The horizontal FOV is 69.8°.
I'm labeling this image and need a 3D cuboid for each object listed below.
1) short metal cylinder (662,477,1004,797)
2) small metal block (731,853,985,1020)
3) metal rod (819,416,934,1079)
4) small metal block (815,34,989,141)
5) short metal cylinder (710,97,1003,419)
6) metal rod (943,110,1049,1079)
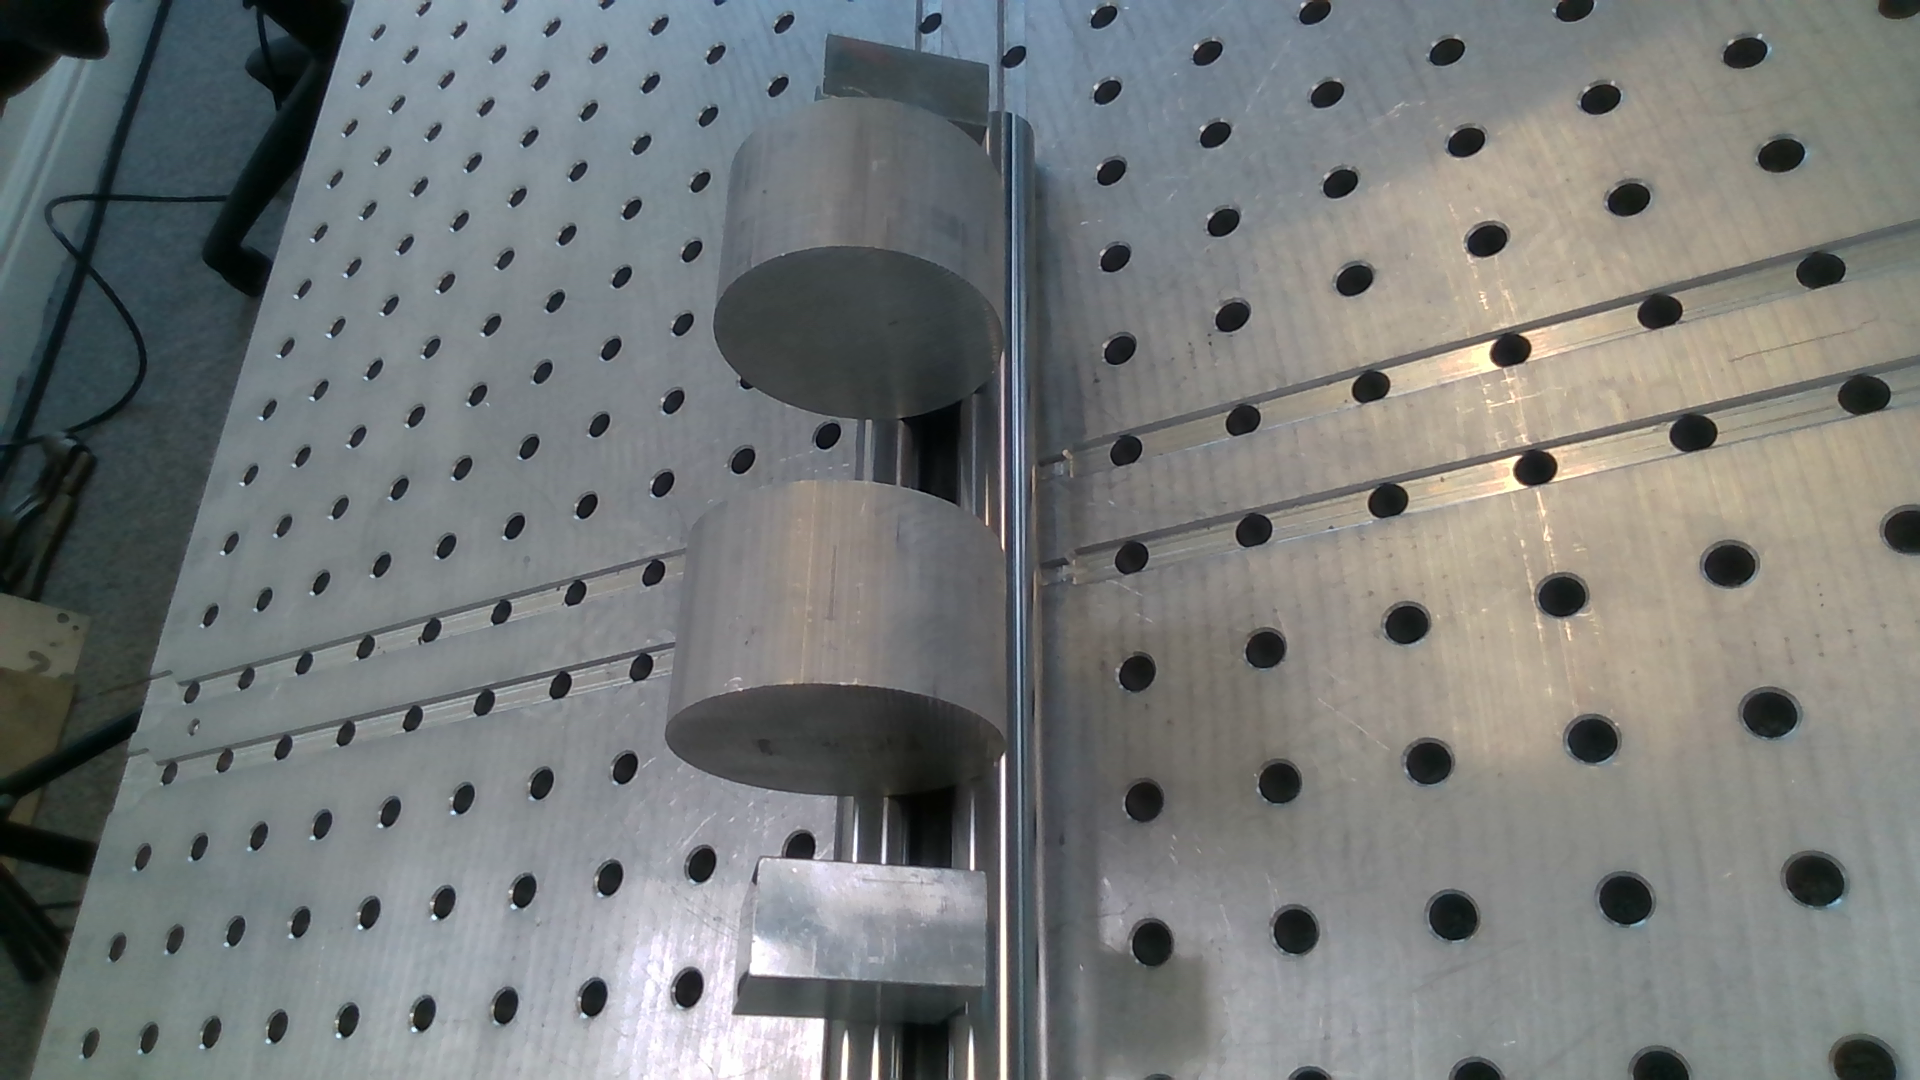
[{"bbox_3d":[-0.029,0.027,0.336,0.080,0.080,0.050,-14,59,25],"label":"short metal cylinder"},{"bbox_3d":[-0.025,0.093,0.317,0.050,0.050,0.025,7,61,-11],"label":"small metal block"},{"bbox_3d":[-0.021,0.003,0.407,0.025,0.025,0.299,-14,59,25],"label":"metal rod"},{"bbox_3d":[-0.021,-0.125,0.430,0.050,0.050,0.025,7,61,-12],"label":"small metal block"},{"bbox_3d":[-0.028,-0.077,0.390,0.080,0.080,0.050,-14,59,25],"label":"short metal cylinder"},{"bbox_3d":[0.010,-0.002,0.391,0.025,0.025,0.299,-14,59,25],"label":"metal rod"}]
